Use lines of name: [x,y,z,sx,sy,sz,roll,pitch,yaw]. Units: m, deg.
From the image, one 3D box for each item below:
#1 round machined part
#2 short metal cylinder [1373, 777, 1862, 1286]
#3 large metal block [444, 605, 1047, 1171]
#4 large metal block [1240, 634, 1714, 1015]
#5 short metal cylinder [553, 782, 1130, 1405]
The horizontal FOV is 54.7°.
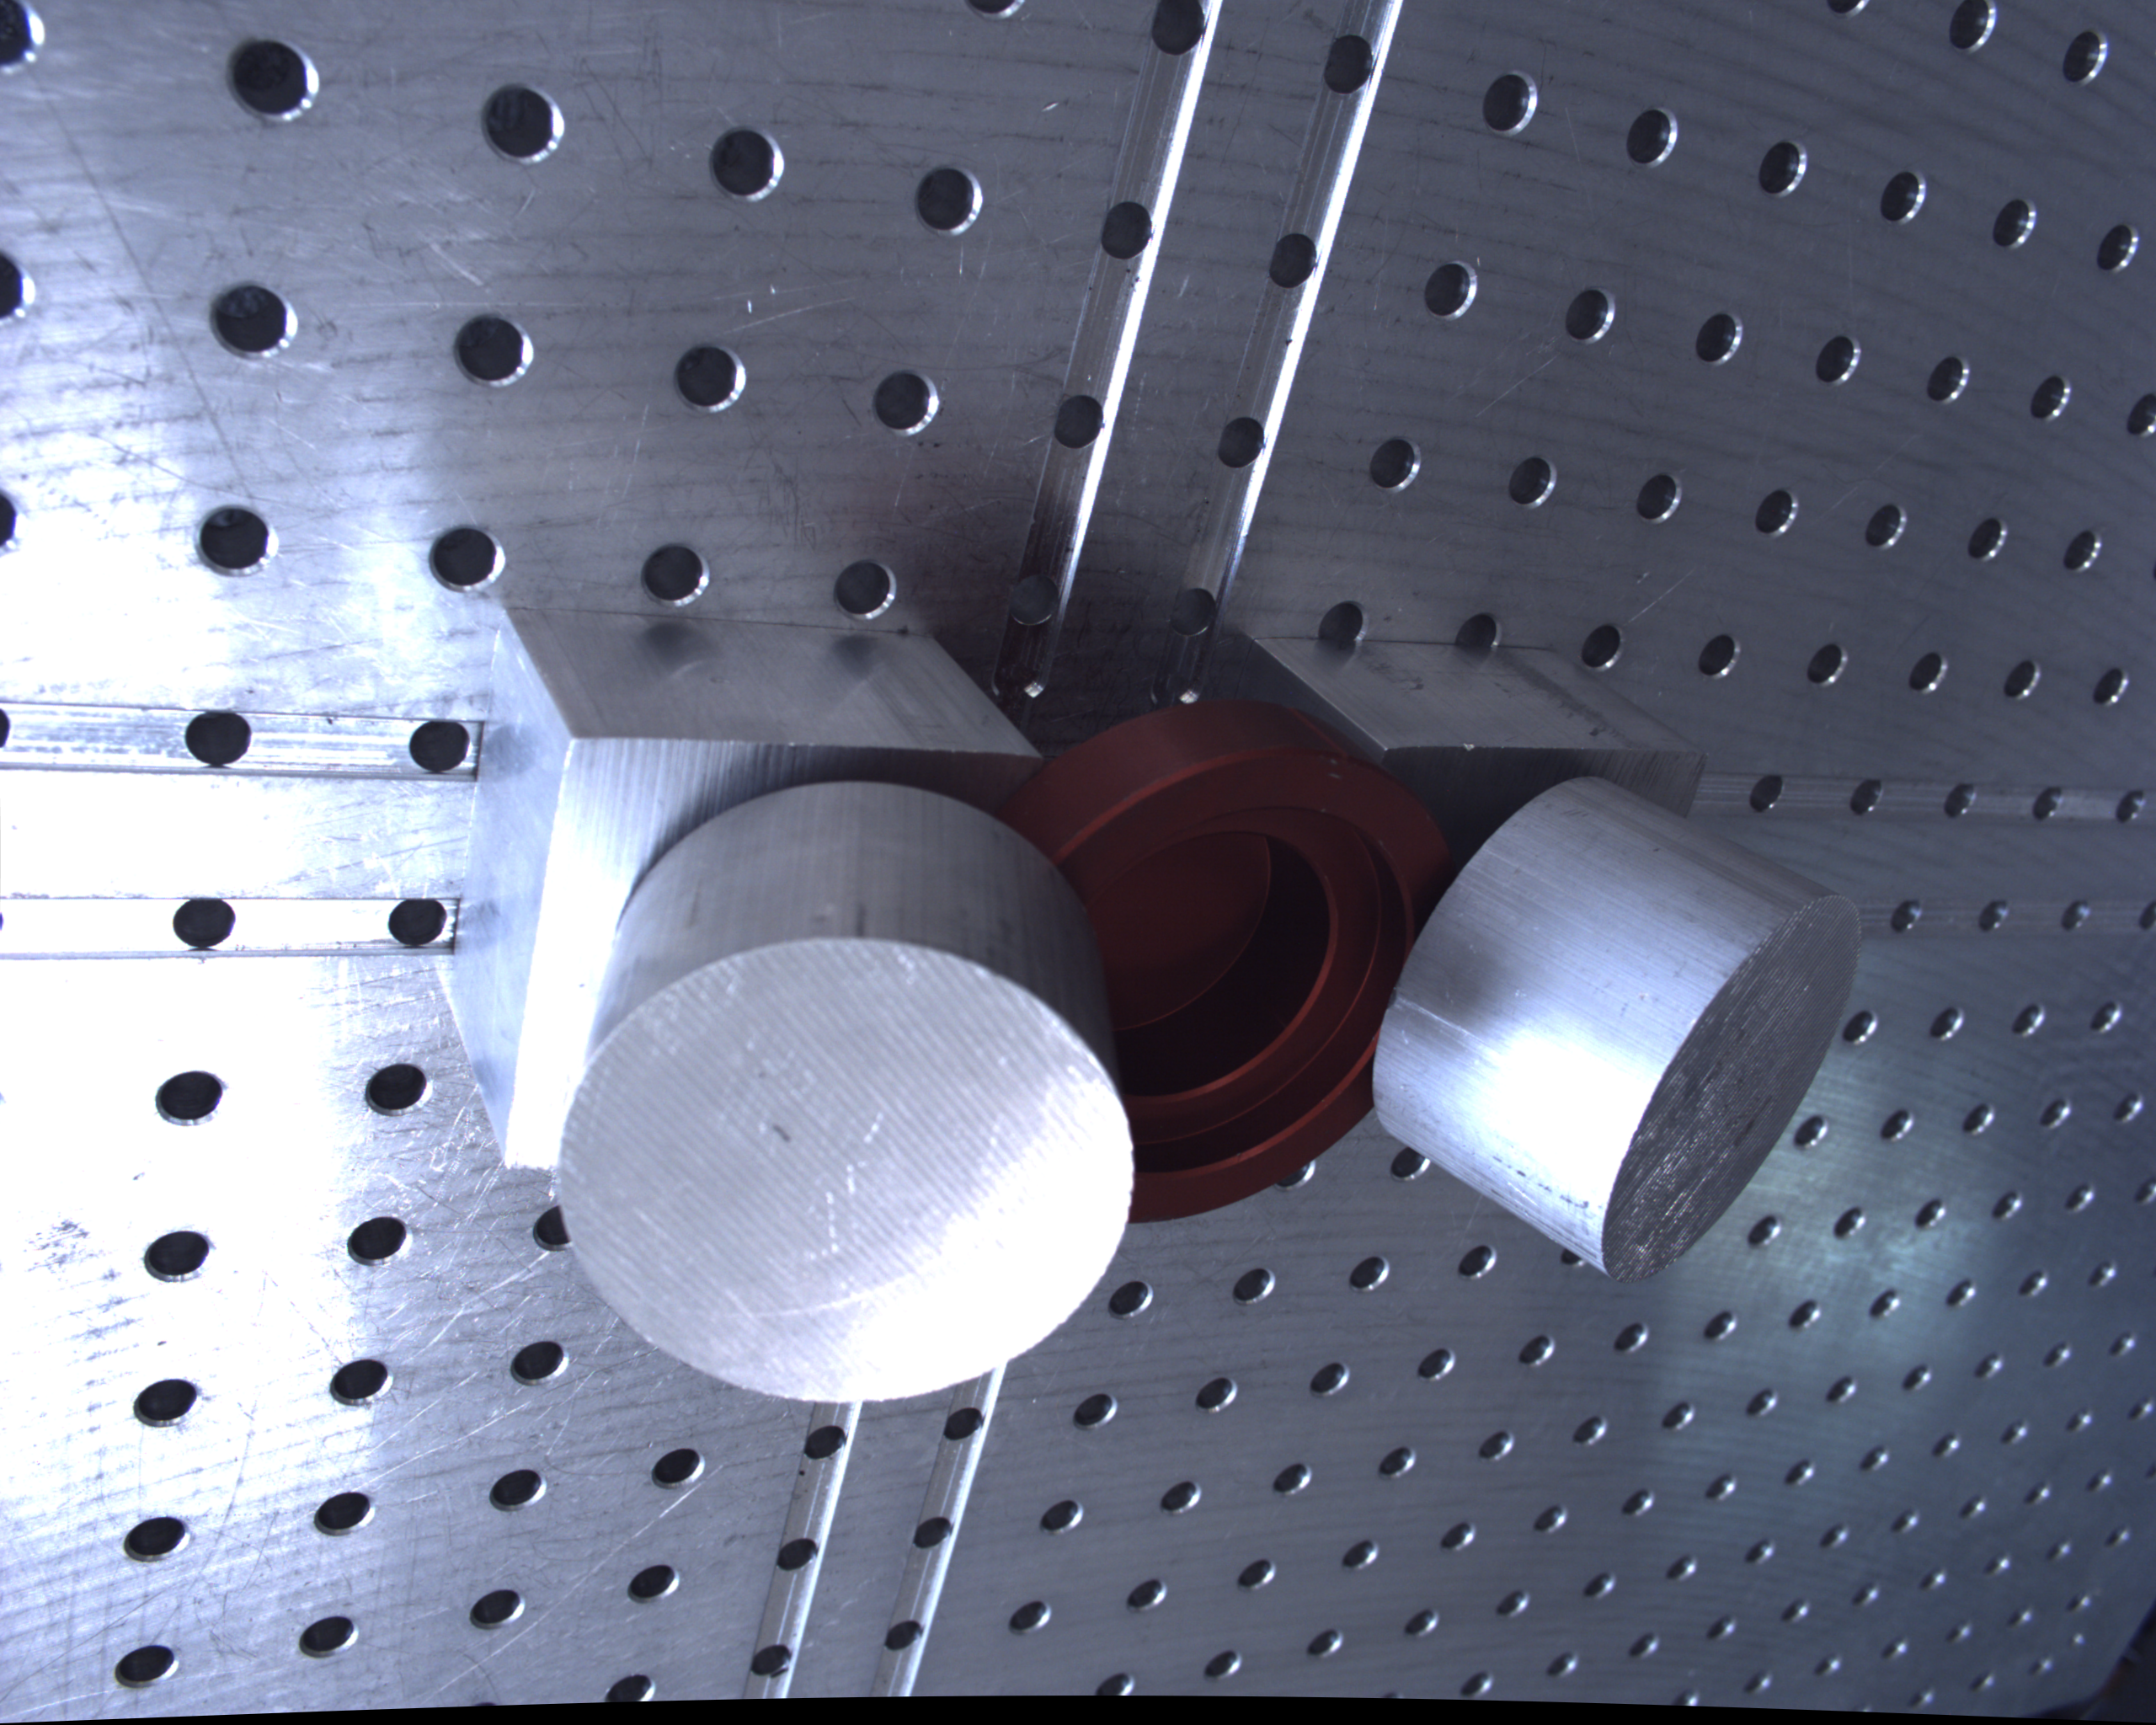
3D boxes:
round machined part: [0.017,0.014,0.380,0.099,0.042,0.097,-14,124,-21]
short metal cylinder: [0.100,0.031,0.387,0.081,0.050,0.079,-31,137,-33]
large metal block: [-0.060,0.004,0.364,0.081,0.050,0.079,1,118,-29]
large metal block: [0.073,0.000,0.434,0.081,0.050,0.079,-1,119,-28]
short metal cylinder: [-0.034,0.034,0.316,0.081,0.050,0.079,-2,118,-4]
